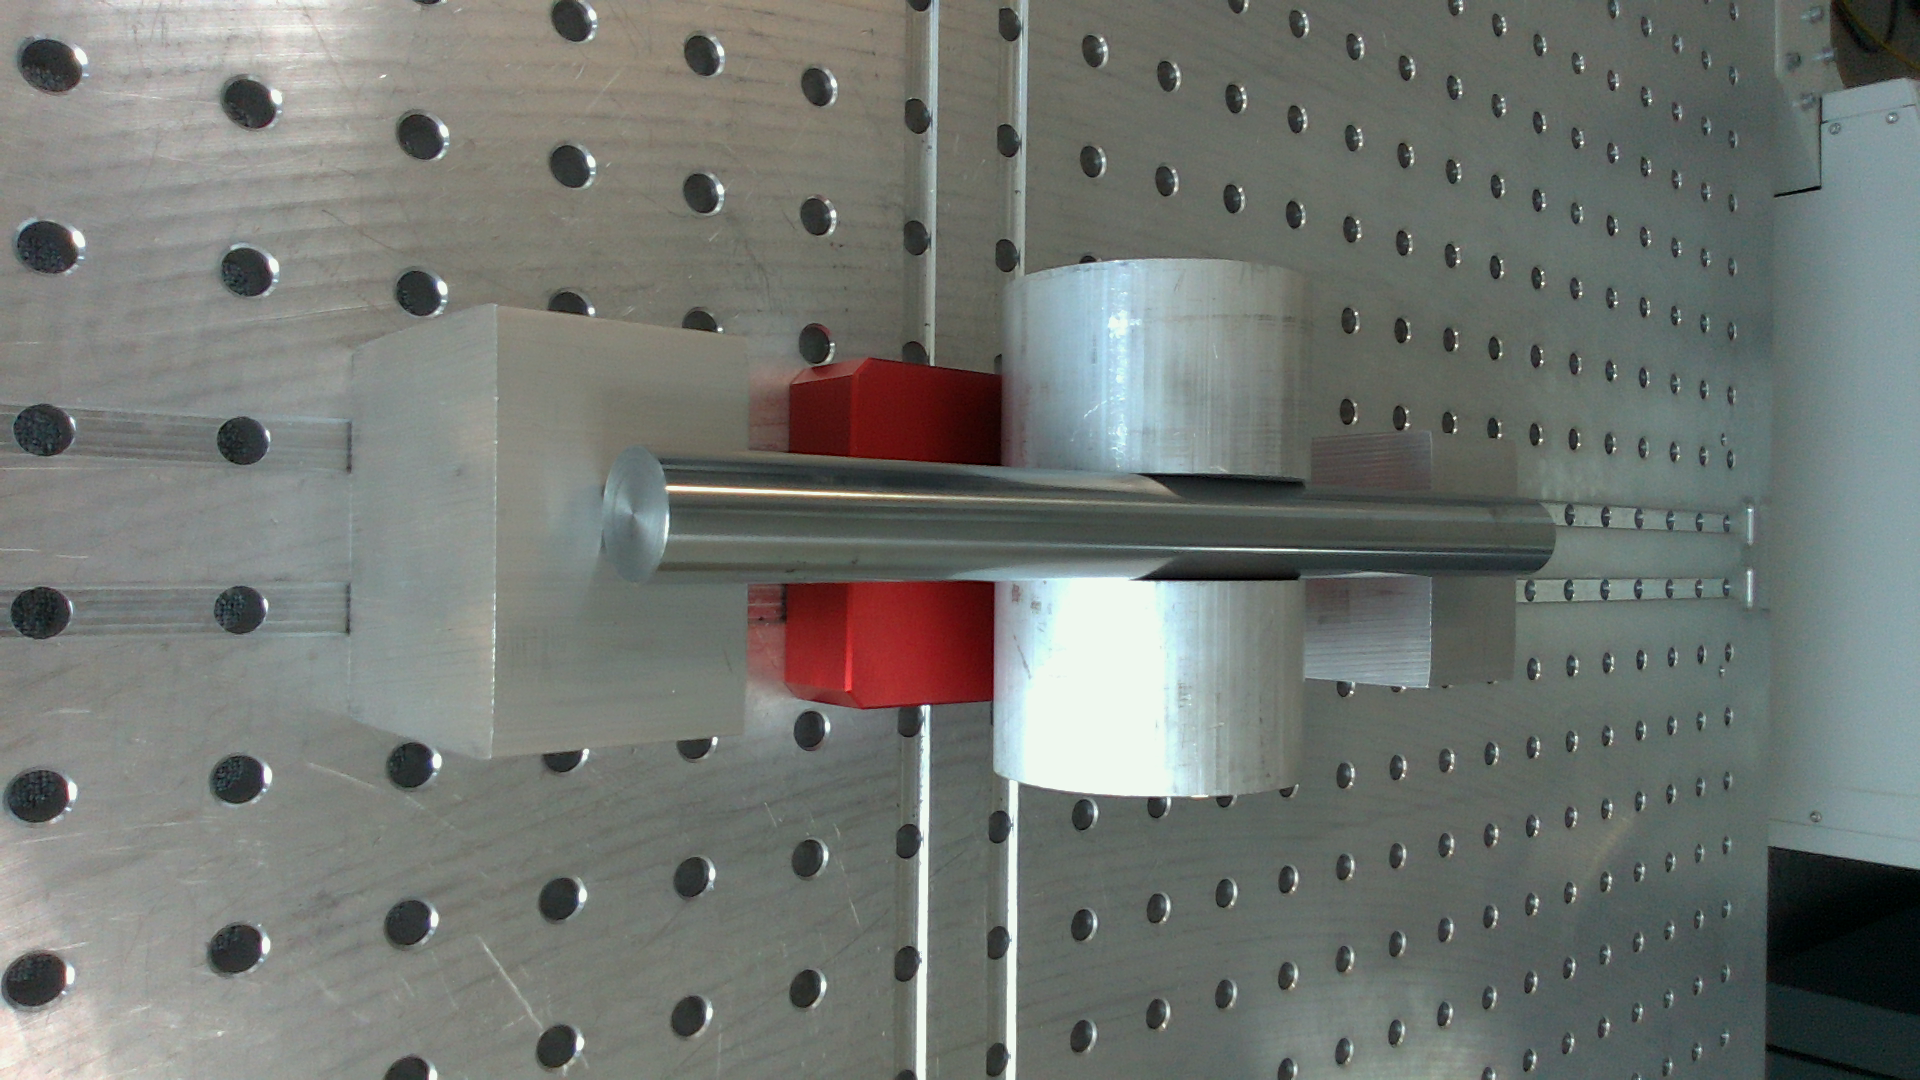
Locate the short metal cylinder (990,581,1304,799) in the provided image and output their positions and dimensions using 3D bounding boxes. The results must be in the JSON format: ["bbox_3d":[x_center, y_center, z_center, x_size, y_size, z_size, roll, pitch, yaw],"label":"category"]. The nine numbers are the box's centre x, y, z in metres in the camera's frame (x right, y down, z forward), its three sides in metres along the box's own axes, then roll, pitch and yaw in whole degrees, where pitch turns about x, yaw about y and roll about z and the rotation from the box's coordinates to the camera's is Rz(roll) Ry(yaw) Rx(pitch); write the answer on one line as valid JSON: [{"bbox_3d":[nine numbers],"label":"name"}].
[{"bbox_3d":[0.048,0.035,0.358,0.080,0.080,0.050,1,89,-40],"label":"short metal cylinder"}]

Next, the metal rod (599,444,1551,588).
[{"bbox_3d":[0.058,-0.002,0.336,0.301,0.025,0.025,1,90,-40],"label":"metal rod"}]

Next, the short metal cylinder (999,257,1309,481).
[{"bbox_3d":[0.050,-0.041,0.359,0.080,0.080,0.050,1,89,-40],"label":"short metal cylinder"}]

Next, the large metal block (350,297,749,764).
[{"bbox_3d":[-0.086,-0.001,0.283,0.050,0.080,0.080,1,89,-40],"label":"large metal block"}]

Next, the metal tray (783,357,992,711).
[{"bbox_3d":[0.013,0.000,0.399,0.131,0.030,0.090,2,89,-40],"label":"metal tray"}]

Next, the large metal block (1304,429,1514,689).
[{"bbox_3d":[0.138,0.006,0.470,0.050,0.080,0.080,1,89,-40],"label":"large metal block"}]
